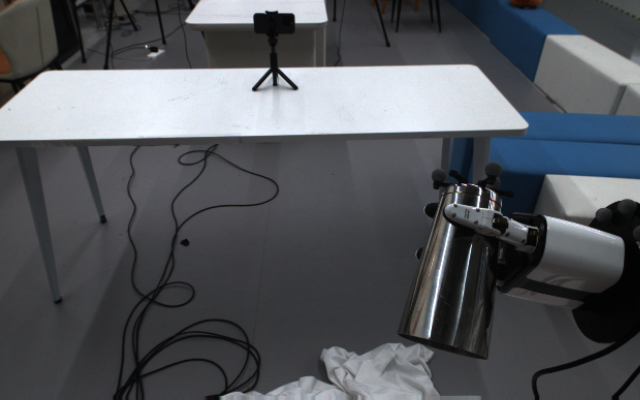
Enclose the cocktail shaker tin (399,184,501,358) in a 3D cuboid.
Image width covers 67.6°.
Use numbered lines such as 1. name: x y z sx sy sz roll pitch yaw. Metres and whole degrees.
1. cocktail shaker tin: 0.150 0.070 0.523 0.093 0.093 0.170 12 72 14
